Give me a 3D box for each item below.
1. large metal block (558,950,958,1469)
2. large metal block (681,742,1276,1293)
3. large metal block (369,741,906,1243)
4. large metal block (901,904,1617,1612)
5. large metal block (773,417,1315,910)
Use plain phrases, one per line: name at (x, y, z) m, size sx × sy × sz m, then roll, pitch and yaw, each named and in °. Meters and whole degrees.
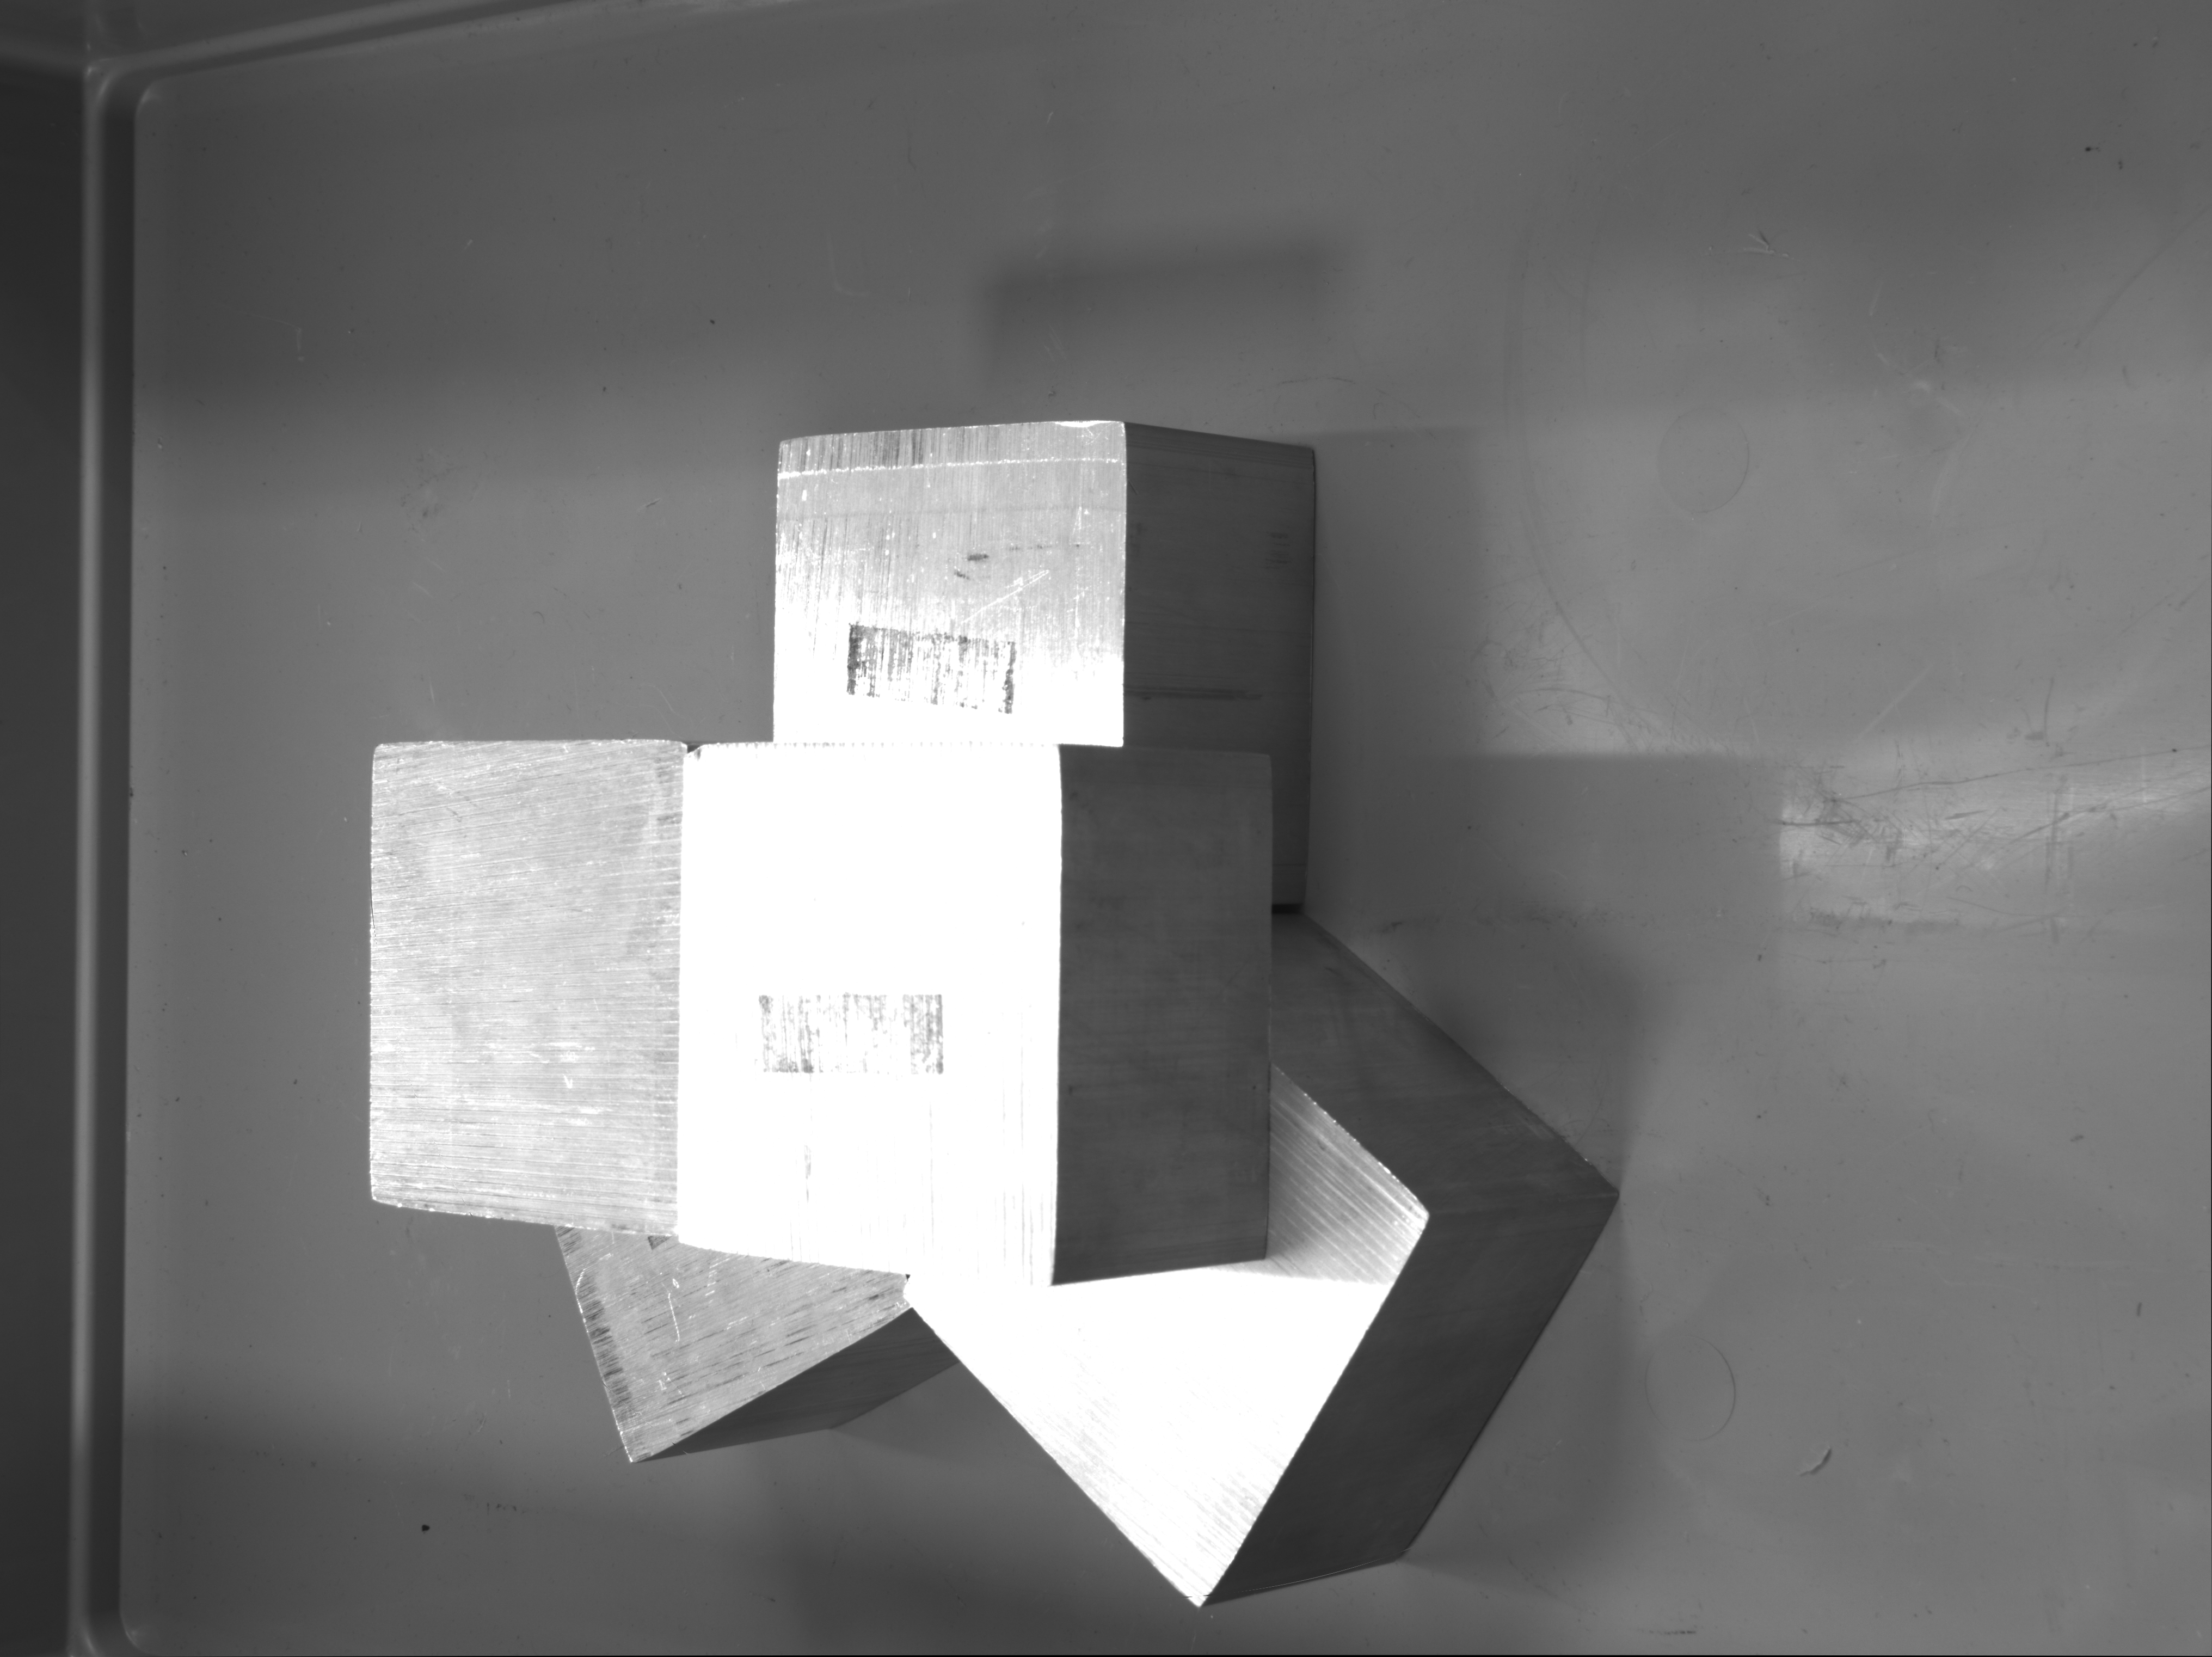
large metal block at (-0.056, 0.063, 0.675) m, size 0.080 × 0.050 × 0.080 m, roll -33°, pitch 69°, yaw 35°
large metal block at (-0.021, 0.027, 0.577) m, size 0.080 × 0.050 × 0.080 m, roll 1°, pitch 90°, yaw 40°
large metal block at (-0.081, 0.026, 0.629) m, size 0.080 × 0.050 × 0.080 m, roll 1°, pitch 90°, yaw 40°
large metal block at (0.024, 0.068, 0.606) m, size 0.080 × 0.050 × 0.080 m, roll 42°, pitch 115°, yaw 33°
large metal block at (-0.012, -0.027, 0.637) m, size 0.080 × 0.050 × 0.080 m, roll 2°, pitch 91°, yaw 40°
